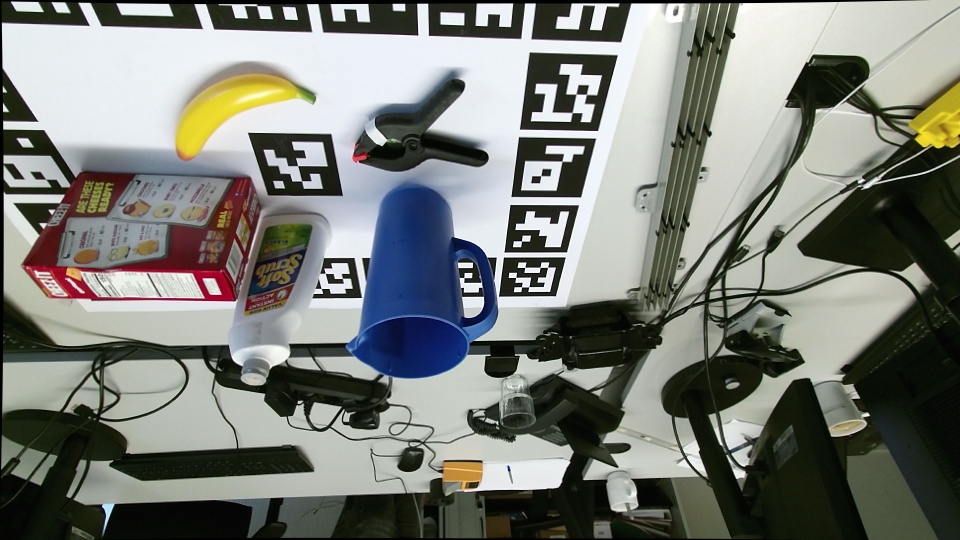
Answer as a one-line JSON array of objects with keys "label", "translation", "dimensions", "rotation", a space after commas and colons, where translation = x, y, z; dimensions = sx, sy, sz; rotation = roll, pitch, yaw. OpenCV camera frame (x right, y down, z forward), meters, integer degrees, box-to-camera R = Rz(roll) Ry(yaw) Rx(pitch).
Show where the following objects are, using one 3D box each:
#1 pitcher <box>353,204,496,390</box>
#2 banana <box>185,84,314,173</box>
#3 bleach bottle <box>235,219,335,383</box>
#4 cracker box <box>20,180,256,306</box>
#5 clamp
[{"label": "pitcher", "translation": [-0.075, 0.026, 0.709], "dimensions": [0.189, 0.241, 0.133], "rotation": [-11, 139, 11]}, {"label": "banana", "translation": [-0.303, -0.177, 0.659], "dimensions": [0.198, 0.038, 0.074], "rotation": [-23, 135, 20]}, {"label": "bleach bottle", "translation": [-0.266, 0.037, 0.735], "dimensions": [0.103, 0.249, 0.068], "rotation": [0, 139, -5]}, {"label": "cracker box", "translation": [-0.417, -0.034, 0.684], "dimensions": [0.214, 0.163, 0.072], "rotation": [0, 141, -7]}, {"label": "clamp", "translation": [-0.084, -0.154, 0.692], "dimensions": [0.166, 0.036, 0.122], "rotation": [-9, 140, 9]}]
